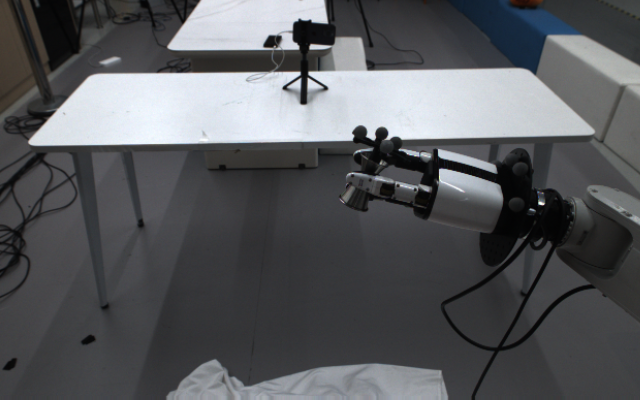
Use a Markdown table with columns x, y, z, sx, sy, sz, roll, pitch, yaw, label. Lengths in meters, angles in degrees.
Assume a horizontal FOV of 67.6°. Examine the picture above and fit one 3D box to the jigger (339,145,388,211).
| x | y | z | sx | sy | sz | roll | pitch | yaw | label |
| --- | --- | --- | --- | --- | --- | --- | --- | --- | --- |
| 0.057 | -0.025 | 0.639 | 0.043 | 0.071 | 0.043 | 23 | 19 | -8 | jigger |
